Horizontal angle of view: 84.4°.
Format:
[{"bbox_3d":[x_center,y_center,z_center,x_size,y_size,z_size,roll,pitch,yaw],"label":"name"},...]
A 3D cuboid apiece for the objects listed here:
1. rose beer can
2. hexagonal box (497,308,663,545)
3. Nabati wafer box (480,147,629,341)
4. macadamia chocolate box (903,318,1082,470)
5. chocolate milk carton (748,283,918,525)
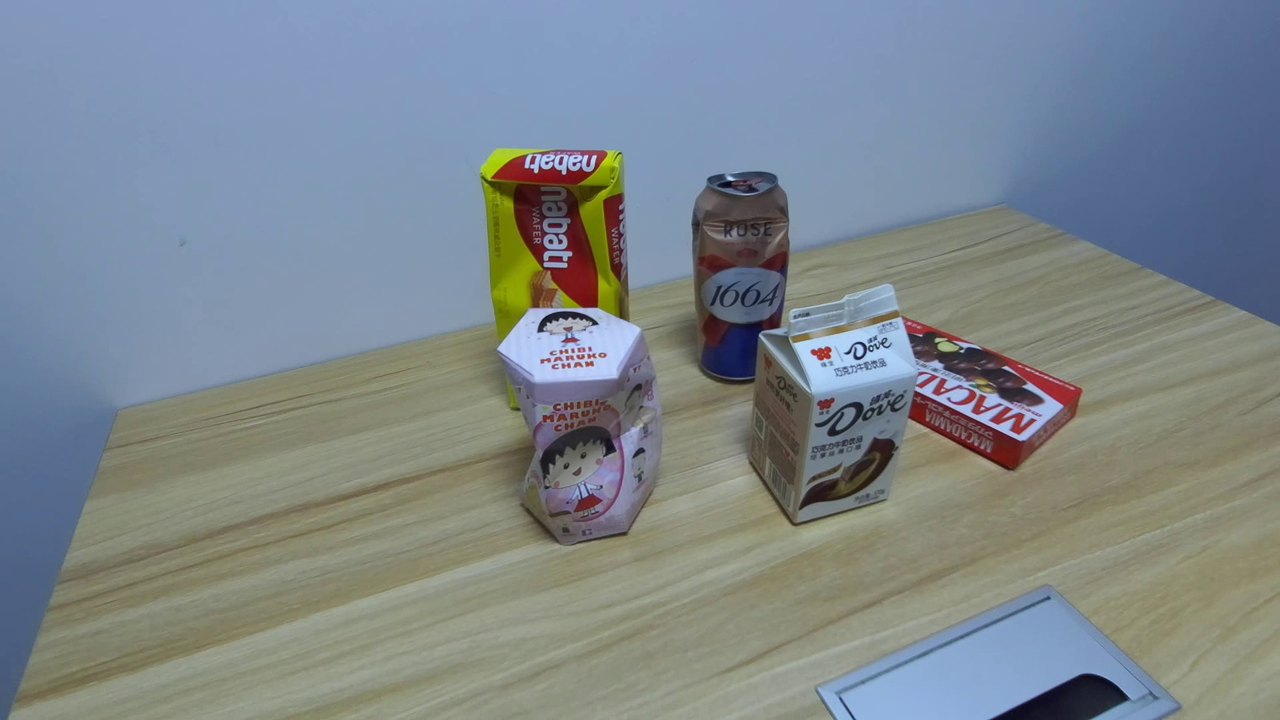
[{"bbox_3d":[0.081,-0.064,0.563,0.075,0.167,0.065,2,31,14],"label":"rose beer can"},{"bbox_3d":[-0.041,0.043,0.447,0.089,0.135,0.093,-31,43,-35],"label":"hexagonal box"},{"bbox_3d":[-0.058,-0.050,0.524,0.096,0.203,0.042,5,32,9],"label":"Nabati wafer box"},{"bbox_3d":[0.240,0.012,0.570,0.103,0.027,0.186,-25,40,-32],"label":"macadamia chocolate box"},{"bbox_3d":[0.121,0.022,0.451,0.075,0.148,0.074,-11,36,-14],"label":"chocolate milk carton"}]
